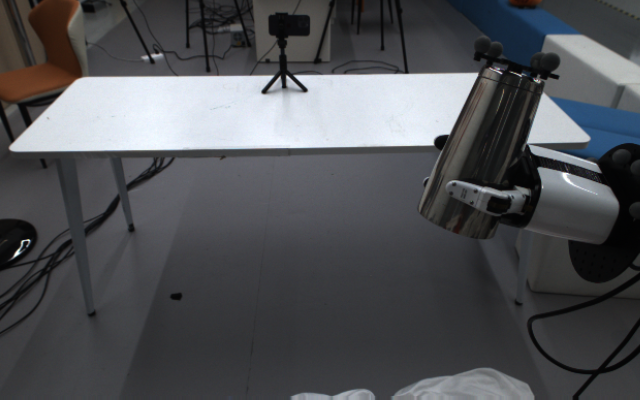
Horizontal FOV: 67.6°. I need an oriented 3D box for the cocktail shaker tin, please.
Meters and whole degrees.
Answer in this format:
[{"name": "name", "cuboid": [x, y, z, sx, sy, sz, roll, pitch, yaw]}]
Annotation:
[{"name": "cocktail shaker tin", "cuboid": [0.180, -0.054, 0.532, 0.093, 0.170, 0.093, 14, 20, -5]}]
